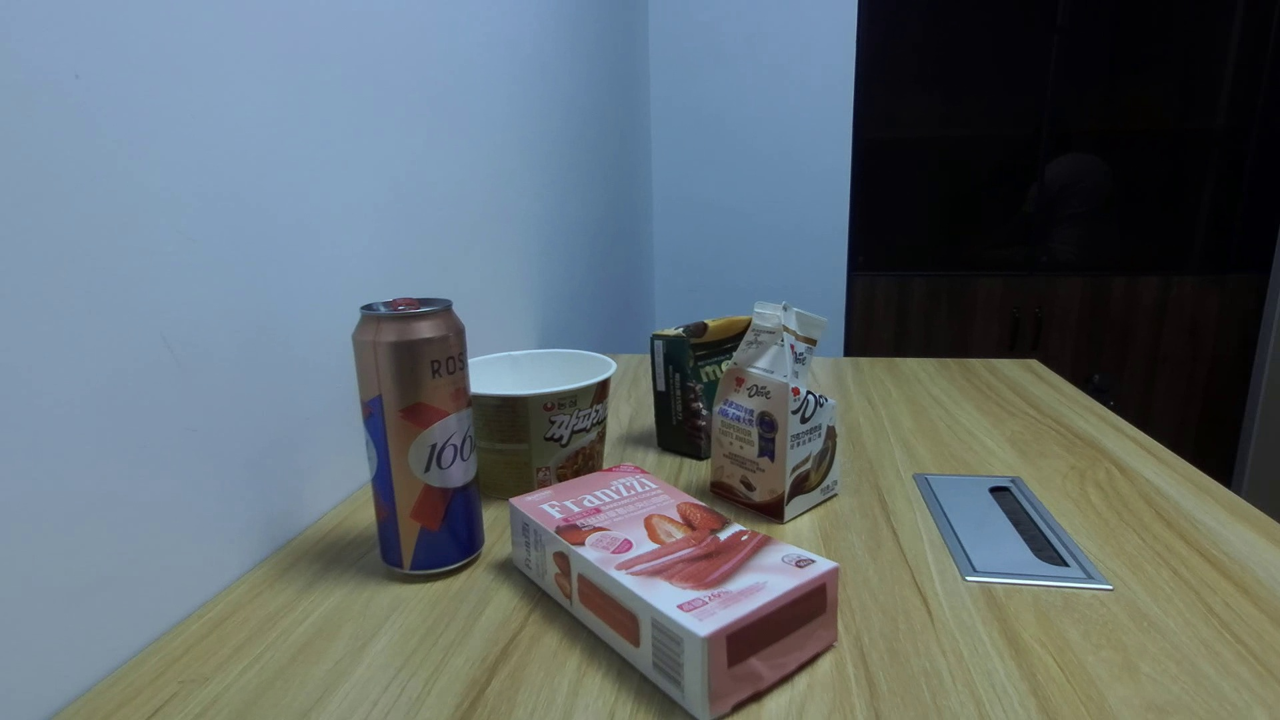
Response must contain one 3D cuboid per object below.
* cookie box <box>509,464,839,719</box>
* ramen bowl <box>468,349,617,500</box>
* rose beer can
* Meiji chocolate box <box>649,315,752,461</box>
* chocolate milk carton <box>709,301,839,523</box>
[{"bbox_3d":[0.015,0.117,0.405,0.105,0.049,0.186,-12,17,-36],"label":"cookie box"},{"bbox_3d":[-0.088,0.051,0.590,0.140,0.095,0.140,-1,15,1],"label":"ramen bowl"},{"bbox_3d":[-0.139,0.050,0.449,0.068,0.169,0.068,-1,13,0],"label":"rose beer can"},{"bbox_3d":[0.069,0.021,0.654,0.118,0.117,0.051,-13,9,-41],"label":"Meiji chocolate box"},{"bbox_3d":[0.103,0.030,0.520,0.076,0.155,0.073,-14,21,-41],"label":"chocolate milk carton"}]
